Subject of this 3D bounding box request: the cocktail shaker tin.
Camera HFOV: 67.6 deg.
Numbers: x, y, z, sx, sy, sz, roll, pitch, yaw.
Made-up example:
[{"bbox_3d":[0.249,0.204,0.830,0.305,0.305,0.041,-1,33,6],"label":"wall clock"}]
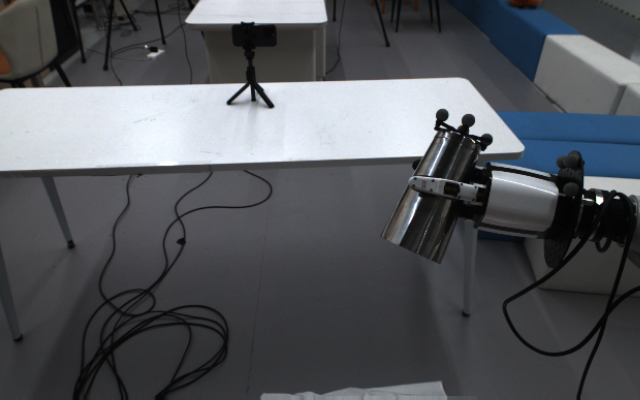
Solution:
[{"bbox_3d":[0.163,-0.010,0.677,0.093,0.170,0.093,23,0,0],"label":"cocktail shaker tin"}]
